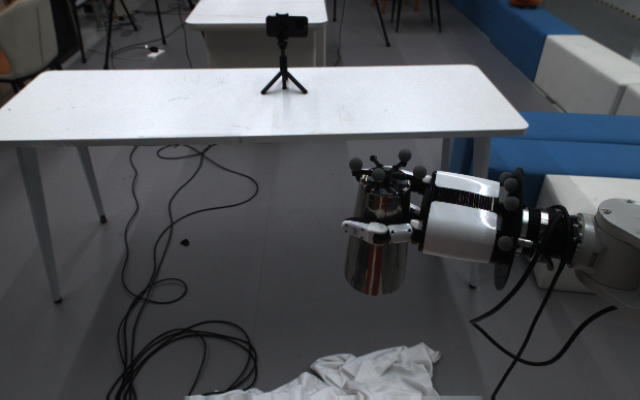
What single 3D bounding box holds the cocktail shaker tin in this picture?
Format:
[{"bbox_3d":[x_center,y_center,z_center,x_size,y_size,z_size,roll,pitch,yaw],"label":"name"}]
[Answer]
[{"bbox_3d":[0.087,0.038,0.674,0.093,0.170,0.093,1,39,-1],"label":"cocktail shaker tin"}]
